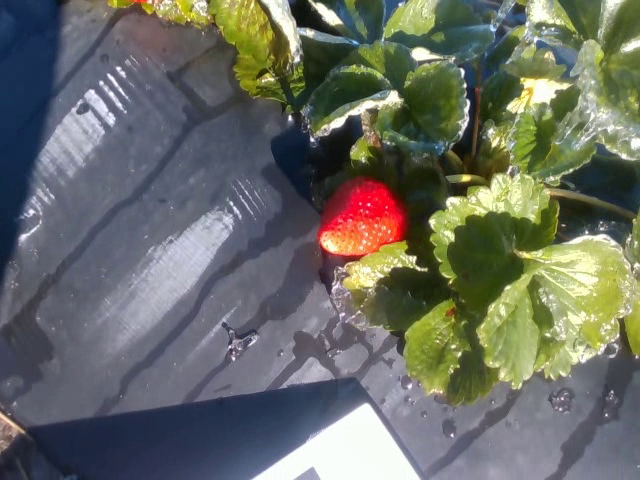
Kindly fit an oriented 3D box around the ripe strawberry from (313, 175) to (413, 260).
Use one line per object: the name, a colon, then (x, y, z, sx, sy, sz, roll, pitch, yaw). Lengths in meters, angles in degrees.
ripe strawberry: (0.015, -0.007, 0.260, 0.052, 0.042, 0.047, -19, -28, -51)
